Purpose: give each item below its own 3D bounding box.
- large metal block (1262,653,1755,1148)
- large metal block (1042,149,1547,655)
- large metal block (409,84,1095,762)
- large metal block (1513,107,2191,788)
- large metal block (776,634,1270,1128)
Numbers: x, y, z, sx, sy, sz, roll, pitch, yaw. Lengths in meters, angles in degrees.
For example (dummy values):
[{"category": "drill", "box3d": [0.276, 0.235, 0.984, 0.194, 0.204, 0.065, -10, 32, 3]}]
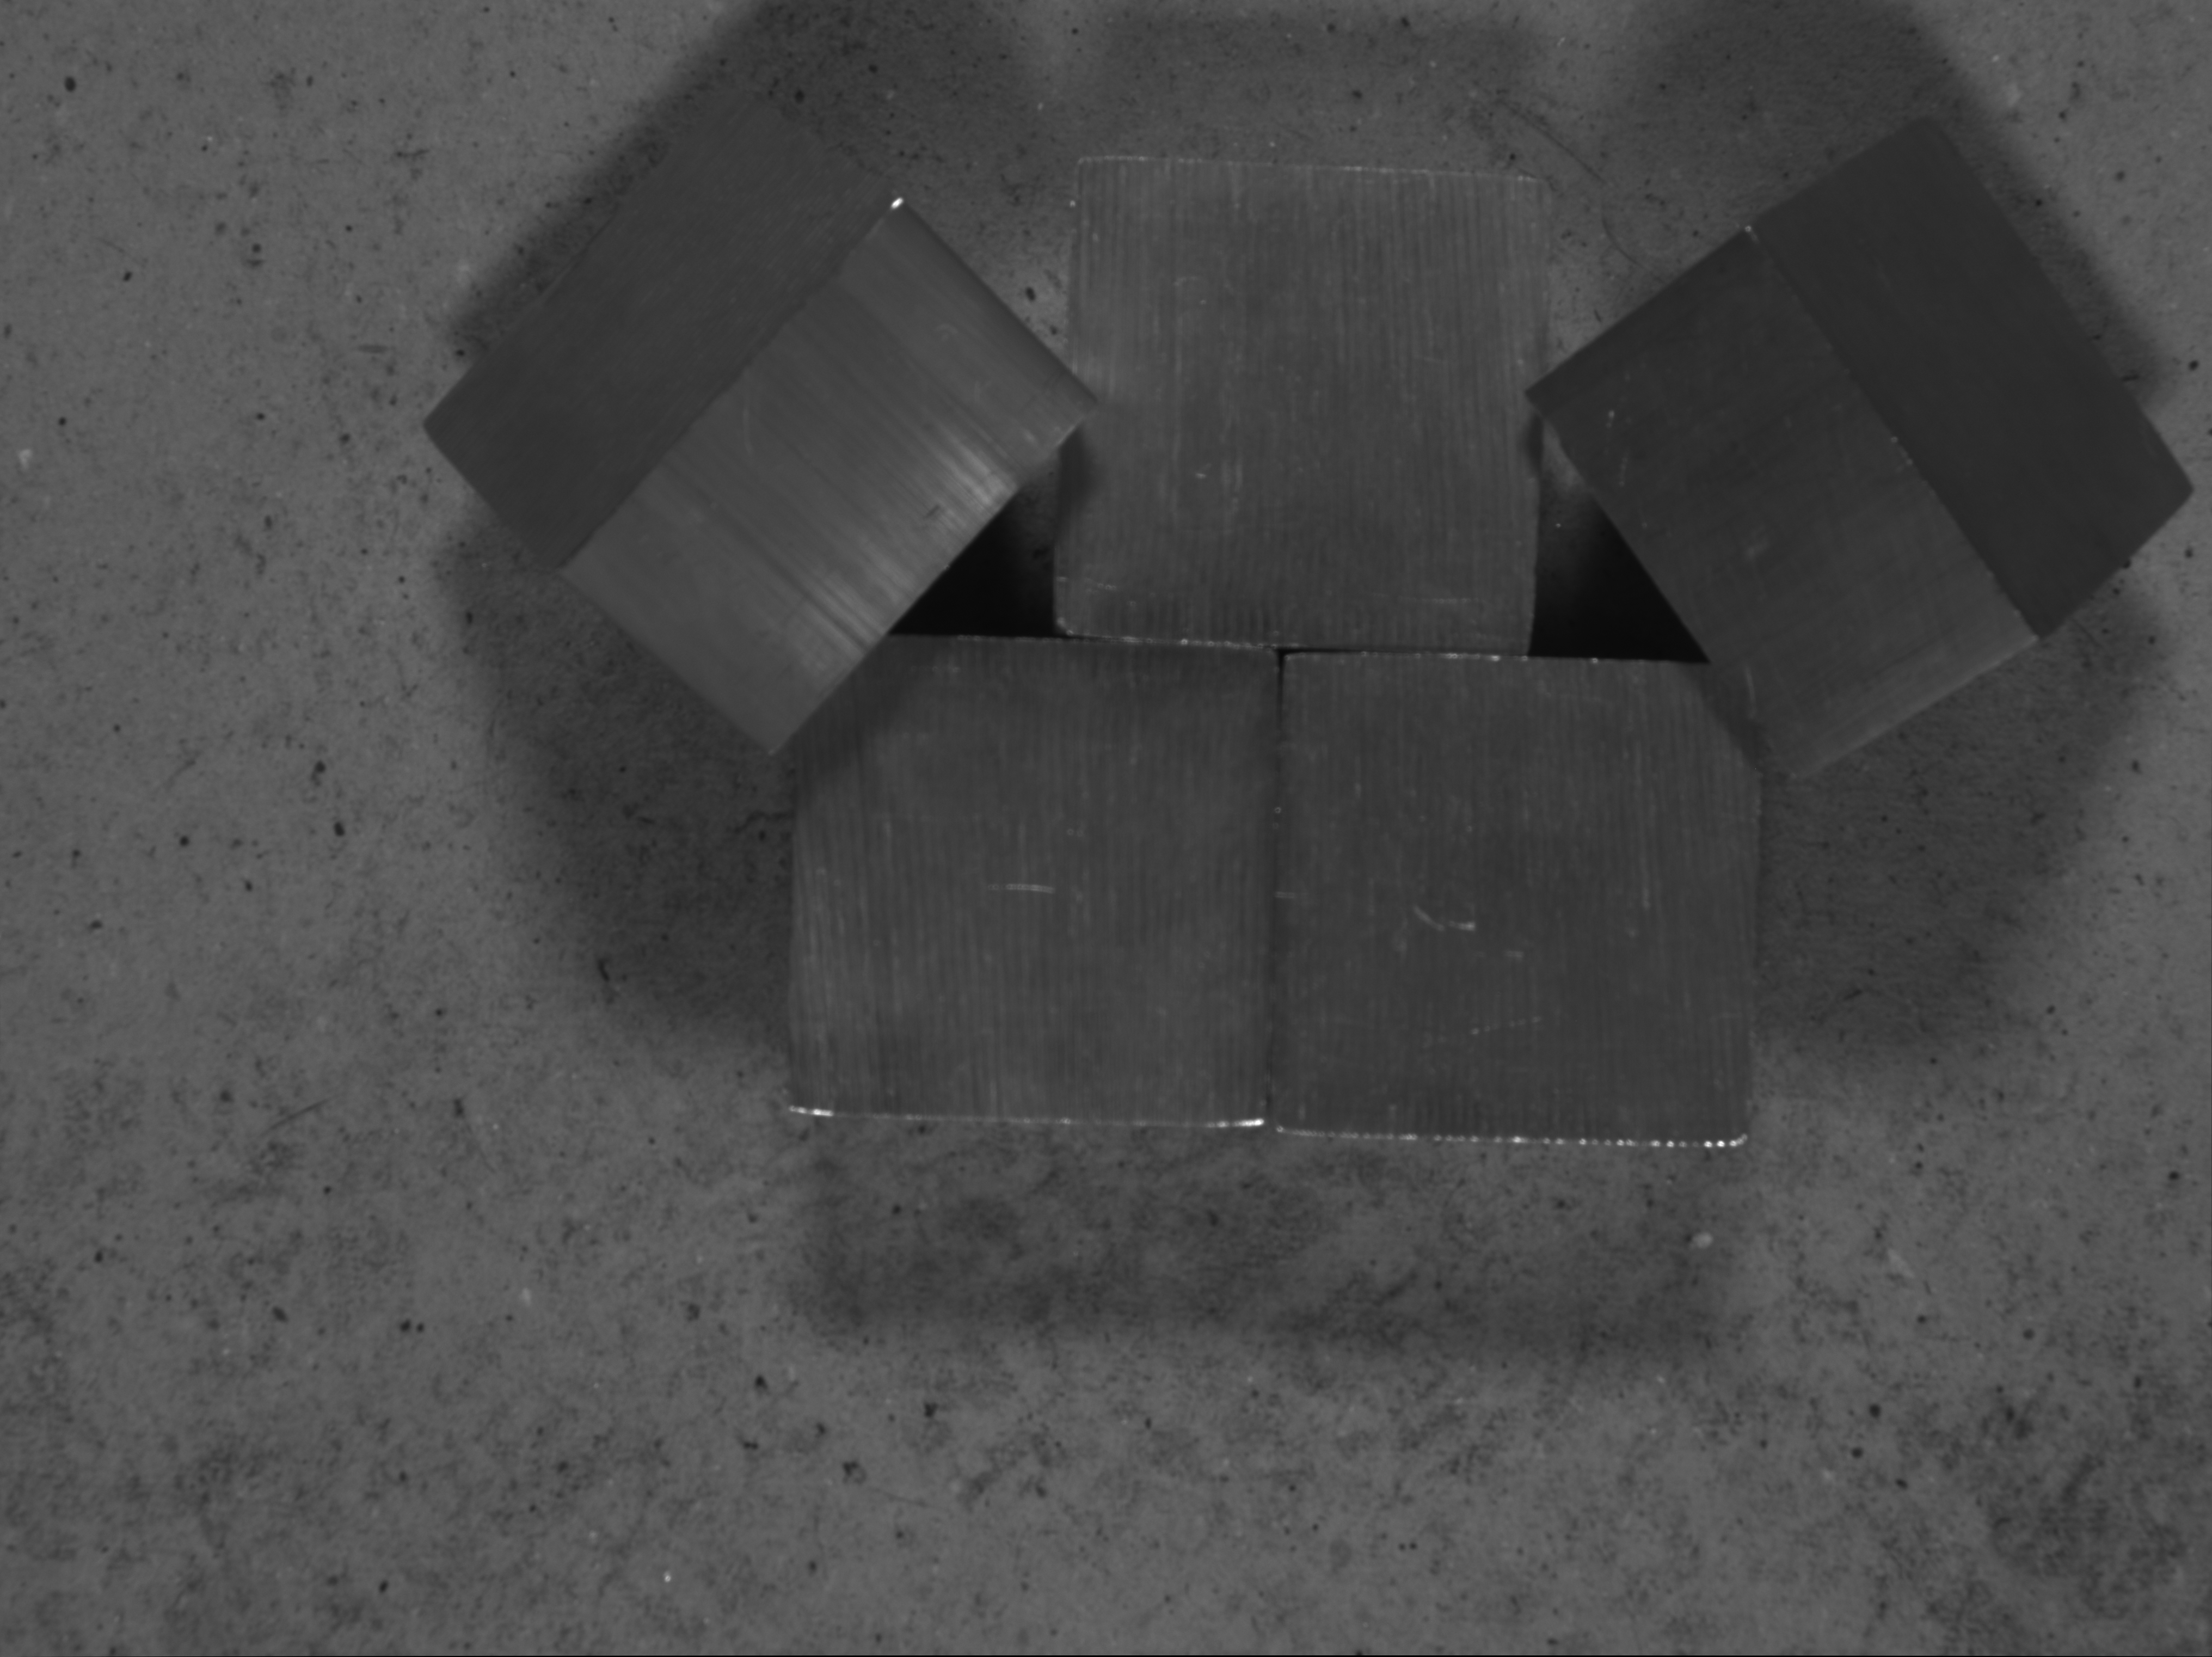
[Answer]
[{"category": "large metal block", "box3d": [0.067, 0.012, 0.631, 0.080, 0.050, 0.080, 1, 90, 0]}, {"category": "large metal block", "box3d": [0.031, -0.071, 0.633, 0.080, 0.050, 0.080, 3, 90, 0]}, {"category": "large metal block", "box3d": [-0.061, -0.069, 0.610, 0.080, 0.080, 0.050, -47, 125, 0]}, {"category": "large metal block", "box3d": [0.126, -0.065, 0.613, 0.050, 0.080, 0.080, -35, 90, 40]}, {"category": "large metal block", "box3d": [-0.014, 0.009, 0.632, 0.080, 0.050, 0.080, 1, 90, 0]}]
